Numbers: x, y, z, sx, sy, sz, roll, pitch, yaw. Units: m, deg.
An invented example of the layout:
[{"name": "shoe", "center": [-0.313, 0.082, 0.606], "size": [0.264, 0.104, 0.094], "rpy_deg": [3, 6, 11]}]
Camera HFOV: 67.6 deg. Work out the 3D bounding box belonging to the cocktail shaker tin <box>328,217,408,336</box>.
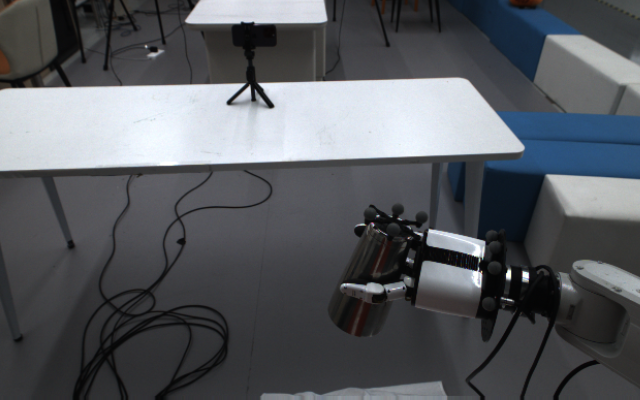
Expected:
[{"name": "cocktail shaker tin", "center": [0.080, 0.106, 0.712], "size": [0.093, 0.170, 0.093], "rpy_deg": [12, 29, -7]}]
